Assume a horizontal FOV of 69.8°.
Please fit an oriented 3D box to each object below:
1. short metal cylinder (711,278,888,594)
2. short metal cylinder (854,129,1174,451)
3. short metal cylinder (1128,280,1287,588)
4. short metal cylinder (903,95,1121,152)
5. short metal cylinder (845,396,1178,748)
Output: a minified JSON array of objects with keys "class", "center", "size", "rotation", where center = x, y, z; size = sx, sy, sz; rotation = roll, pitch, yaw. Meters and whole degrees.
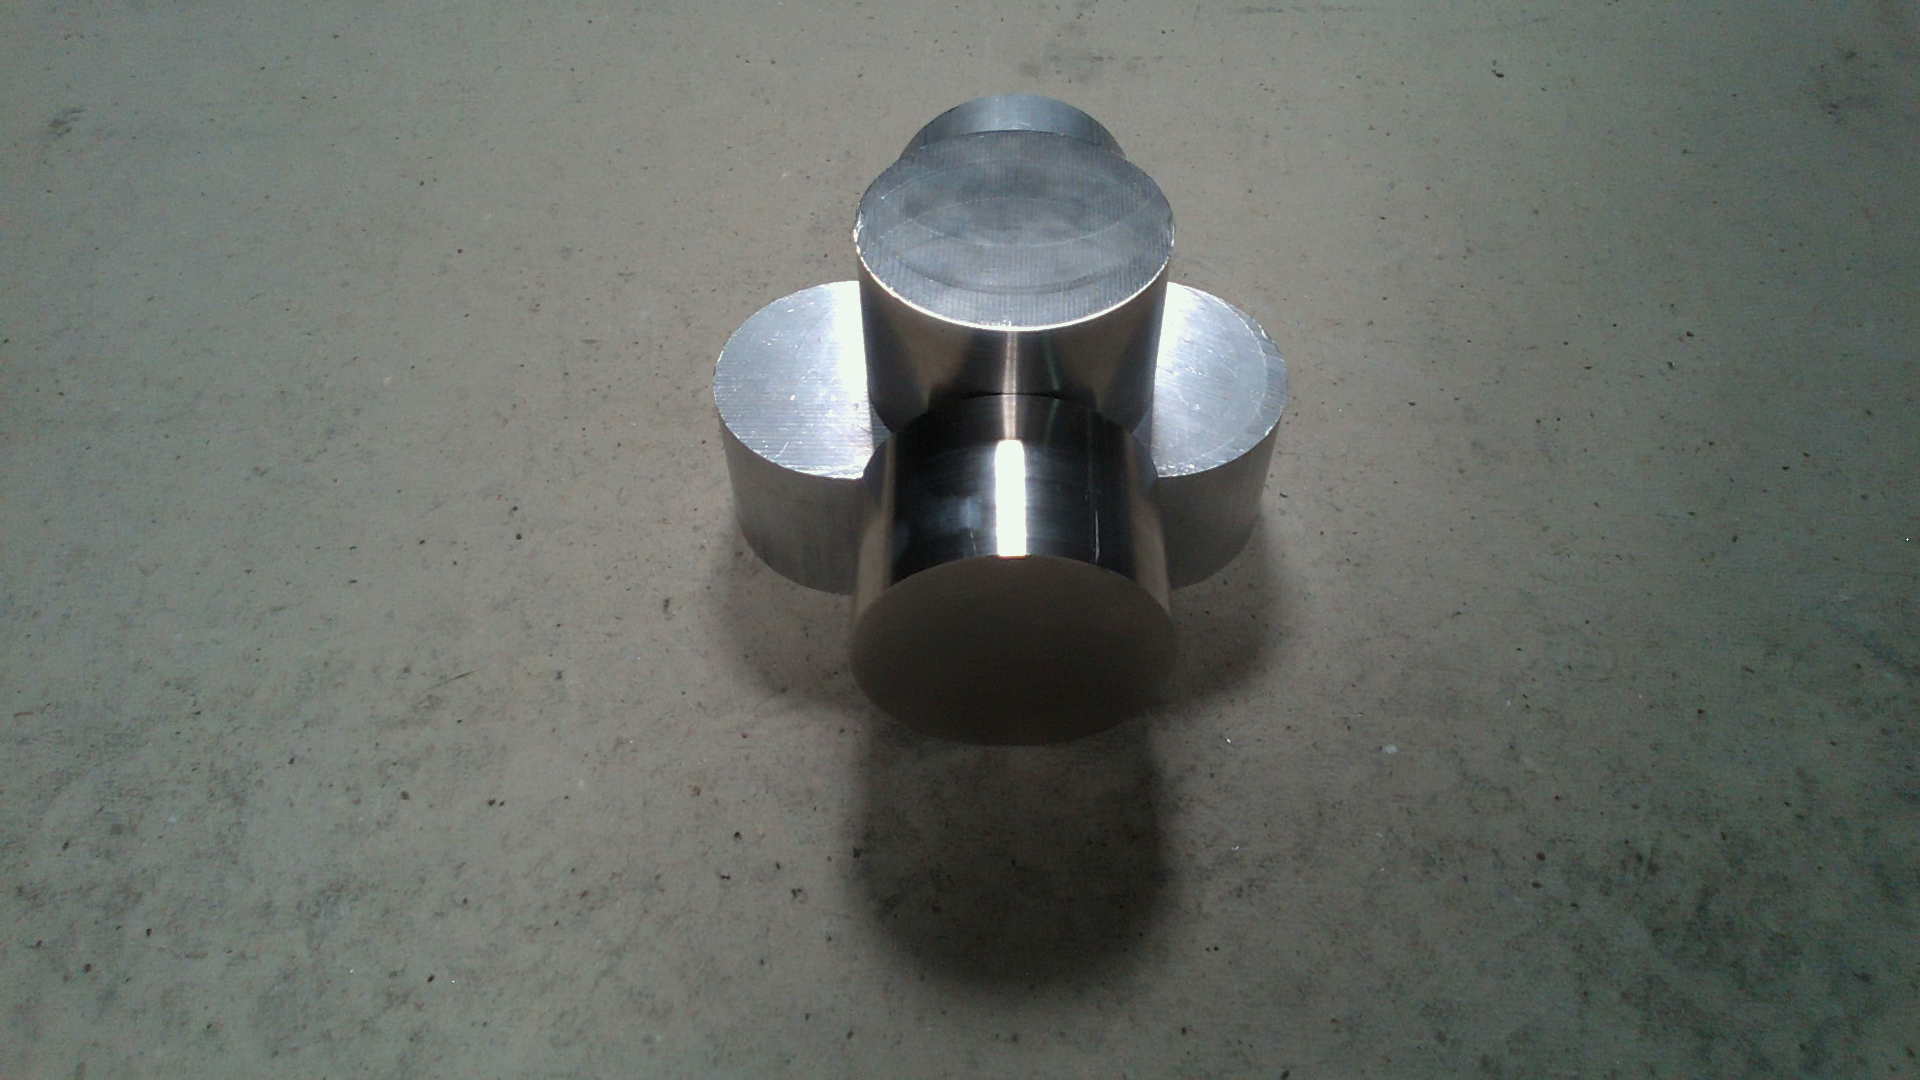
[{"class":"short metal cylinder","center":[-0.029,-0.031,0.401],"size":[0.080,0.050,0.080],"rotation":[0,50,0]},{"class":"short metal cylinder","center":[0.014,-0.064,0.363],"size":[0.080,0.050,0.080],"rotation":[0,50,0]},{"class":"short metal cylinder","center":[0.051,-0.032,0.402],"size":[0.080,0.050,0.080],"rotation":[0,50,0]},{"class":"short metal cylinder","center":[0.017,-0.091,0.433],"size":[0.080,0.080,0.050],"rotation":[0,50,0]},{"class":"short metal cylinder","center":[0.013,0.010,0.348],"size":[0.080,0.080,0.050],"rotation":[0,50,0]}]
